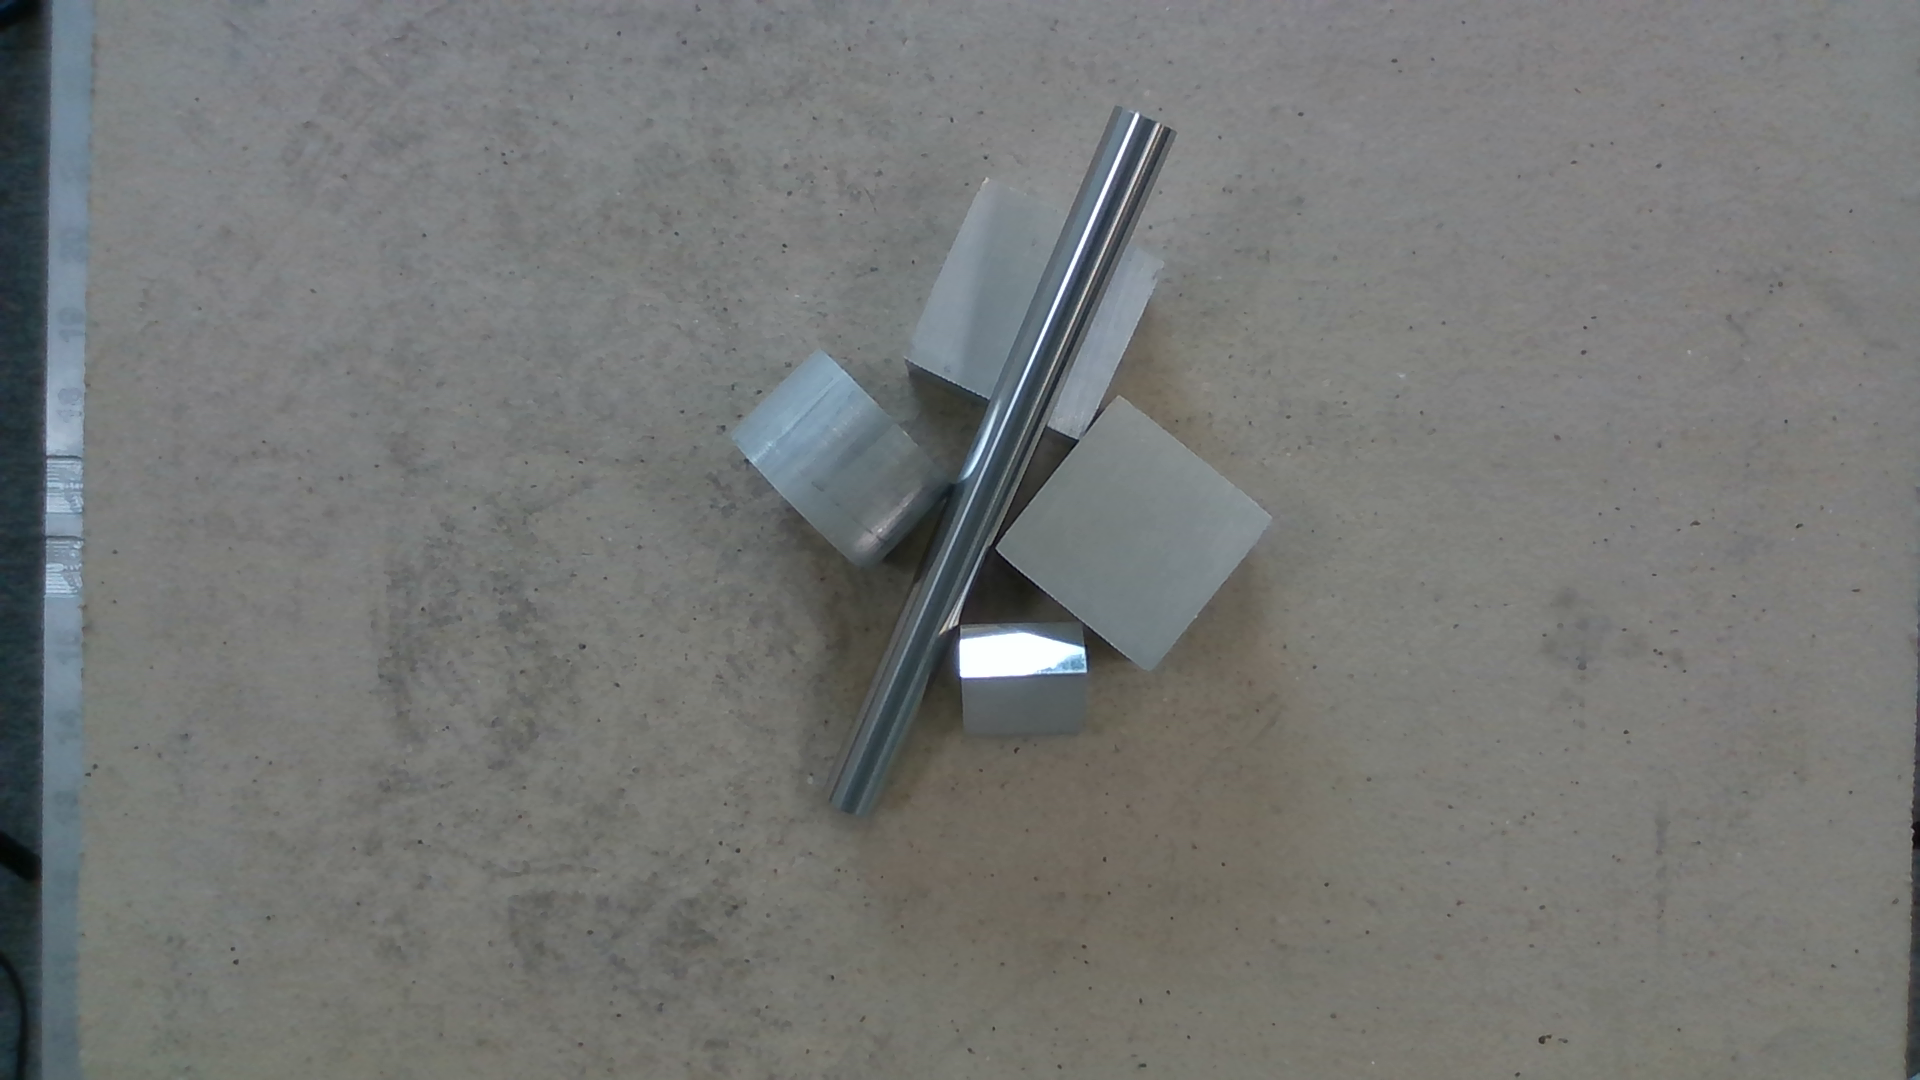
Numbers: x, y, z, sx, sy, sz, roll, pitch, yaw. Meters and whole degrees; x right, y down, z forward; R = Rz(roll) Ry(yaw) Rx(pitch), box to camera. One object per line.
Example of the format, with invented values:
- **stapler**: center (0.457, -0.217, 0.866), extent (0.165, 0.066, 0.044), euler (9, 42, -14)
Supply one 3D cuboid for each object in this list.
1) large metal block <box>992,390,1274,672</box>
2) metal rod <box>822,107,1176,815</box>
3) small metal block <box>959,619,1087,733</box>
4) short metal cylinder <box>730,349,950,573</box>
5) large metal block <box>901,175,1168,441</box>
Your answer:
- **large metal block**: center (0.069, -0.004, 0.573), extent (0.080, 0.050, 0.080), euler (39, 90, 0)
- **metal rod**: center (0.010, -0.022, 0.546), extent (0.025, 0.025, 0.300), euler (24, 107, 0)
- **small metal block**: center (0.025, 0.058, 0.573), extent (0.050, 0.050, 0.025), euler (-2, 55, 0)
- **short metal cylinder**: center (-0.047, -0.032, 0.559), extent (0.050, 0.080, 0.080), euler (-44, 90, 0)
- **large metal block**: center (0.030, -0.093, 0.574), extent (0.080, 0.050, 0.080), euler (25, 90, 0)
